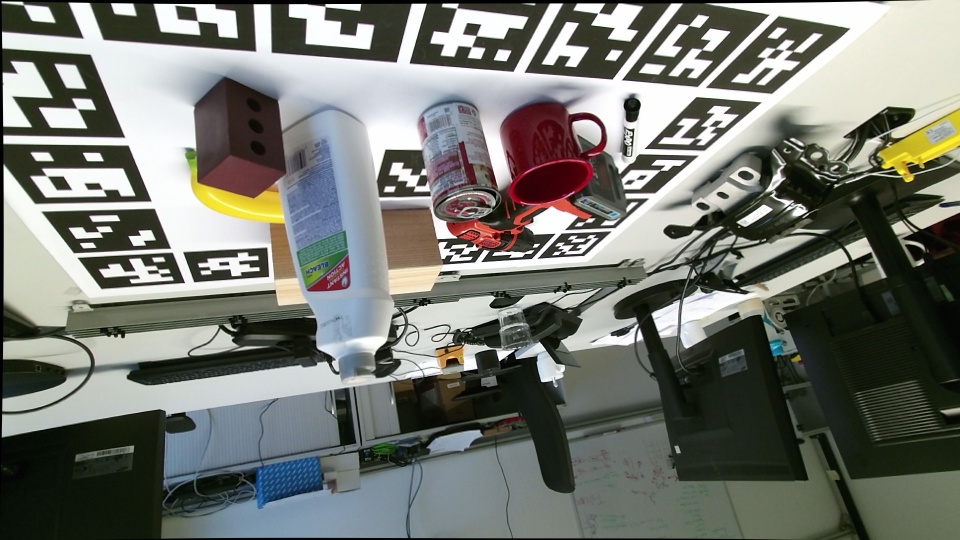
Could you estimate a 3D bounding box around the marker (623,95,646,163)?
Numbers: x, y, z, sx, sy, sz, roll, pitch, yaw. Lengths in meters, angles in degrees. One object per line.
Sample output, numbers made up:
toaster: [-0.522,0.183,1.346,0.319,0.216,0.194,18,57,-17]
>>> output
marker: [0.182,-0.165,0.635,0.020,0.019,0.121,-18,158,5]

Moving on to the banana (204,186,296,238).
banana: [-0.216,-0.066,0.611,0.198,0.038,0.074,5,139,-35]

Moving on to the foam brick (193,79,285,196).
foam brick: [-0.207,-0.111,0.461,0.051,0.077,0.053,-24,159,31]

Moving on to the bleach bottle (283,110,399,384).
bleach bottle: [-0.129,-0.018,0.498,0.103,0.249,0.068,-27,156,35]

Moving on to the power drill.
power drill: [0.076,-0.084,0.733,0.187,0.057,0.185,-28,151,36]

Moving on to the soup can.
soup can: [-0.018,-0.101,0.542,0.068,0.101,0.068,-9,162,-3]

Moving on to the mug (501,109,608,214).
mug: [0.081,-0.125,0.583,0.117,0.081,0.093,-25,154,20]

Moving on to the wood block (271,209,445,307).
wood block: [-0.163,-0.016,0.709,0.207,0.090,0.090,-5,156,-21]
